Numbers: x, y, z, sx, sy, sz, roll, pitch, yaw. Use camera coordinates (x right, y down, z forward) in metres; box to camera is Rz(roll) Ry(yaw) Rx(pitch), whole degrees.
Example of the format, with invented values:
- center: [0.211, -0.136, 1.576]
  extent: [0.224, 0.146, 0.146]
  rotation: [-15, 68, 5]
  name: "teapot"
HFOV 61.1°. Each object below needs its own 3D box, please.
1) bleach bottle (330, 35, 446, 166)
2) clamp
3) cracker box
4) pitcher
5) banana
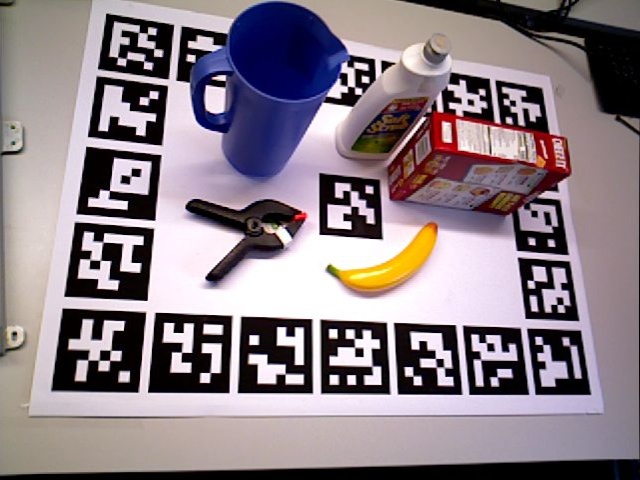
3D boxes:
- center: [0.096, -0.195, 0.763]
  extent: [0.101, 0.256, 0.067]
  rotation: [4, 68, -14]
  name: "bleach bottle"
- center: [-0.095, -0.007, 0.760]
  extent: [0.162, 0.037, 0.121]
  rotation: [-12, 73, -21]
  name: "clamp"
- center: [0.239, -0.105, 0.800]
  extent: [0.211, 0.167, 0.071]
  rotation: [5, 65, -12]
  name: "cracker box"
- center: [-0.077, -0.177, 0.687]
  extent: [0.185, 0.247, 0.133]
  rotation: [-14, 74, -23]
  name: "pitcher"
- center: [0.114, 0.033, 0.812]
  extent: [0.194, 0.039, 0.074]
  rotation: [-31, 81, -23]
  name: "banana"
